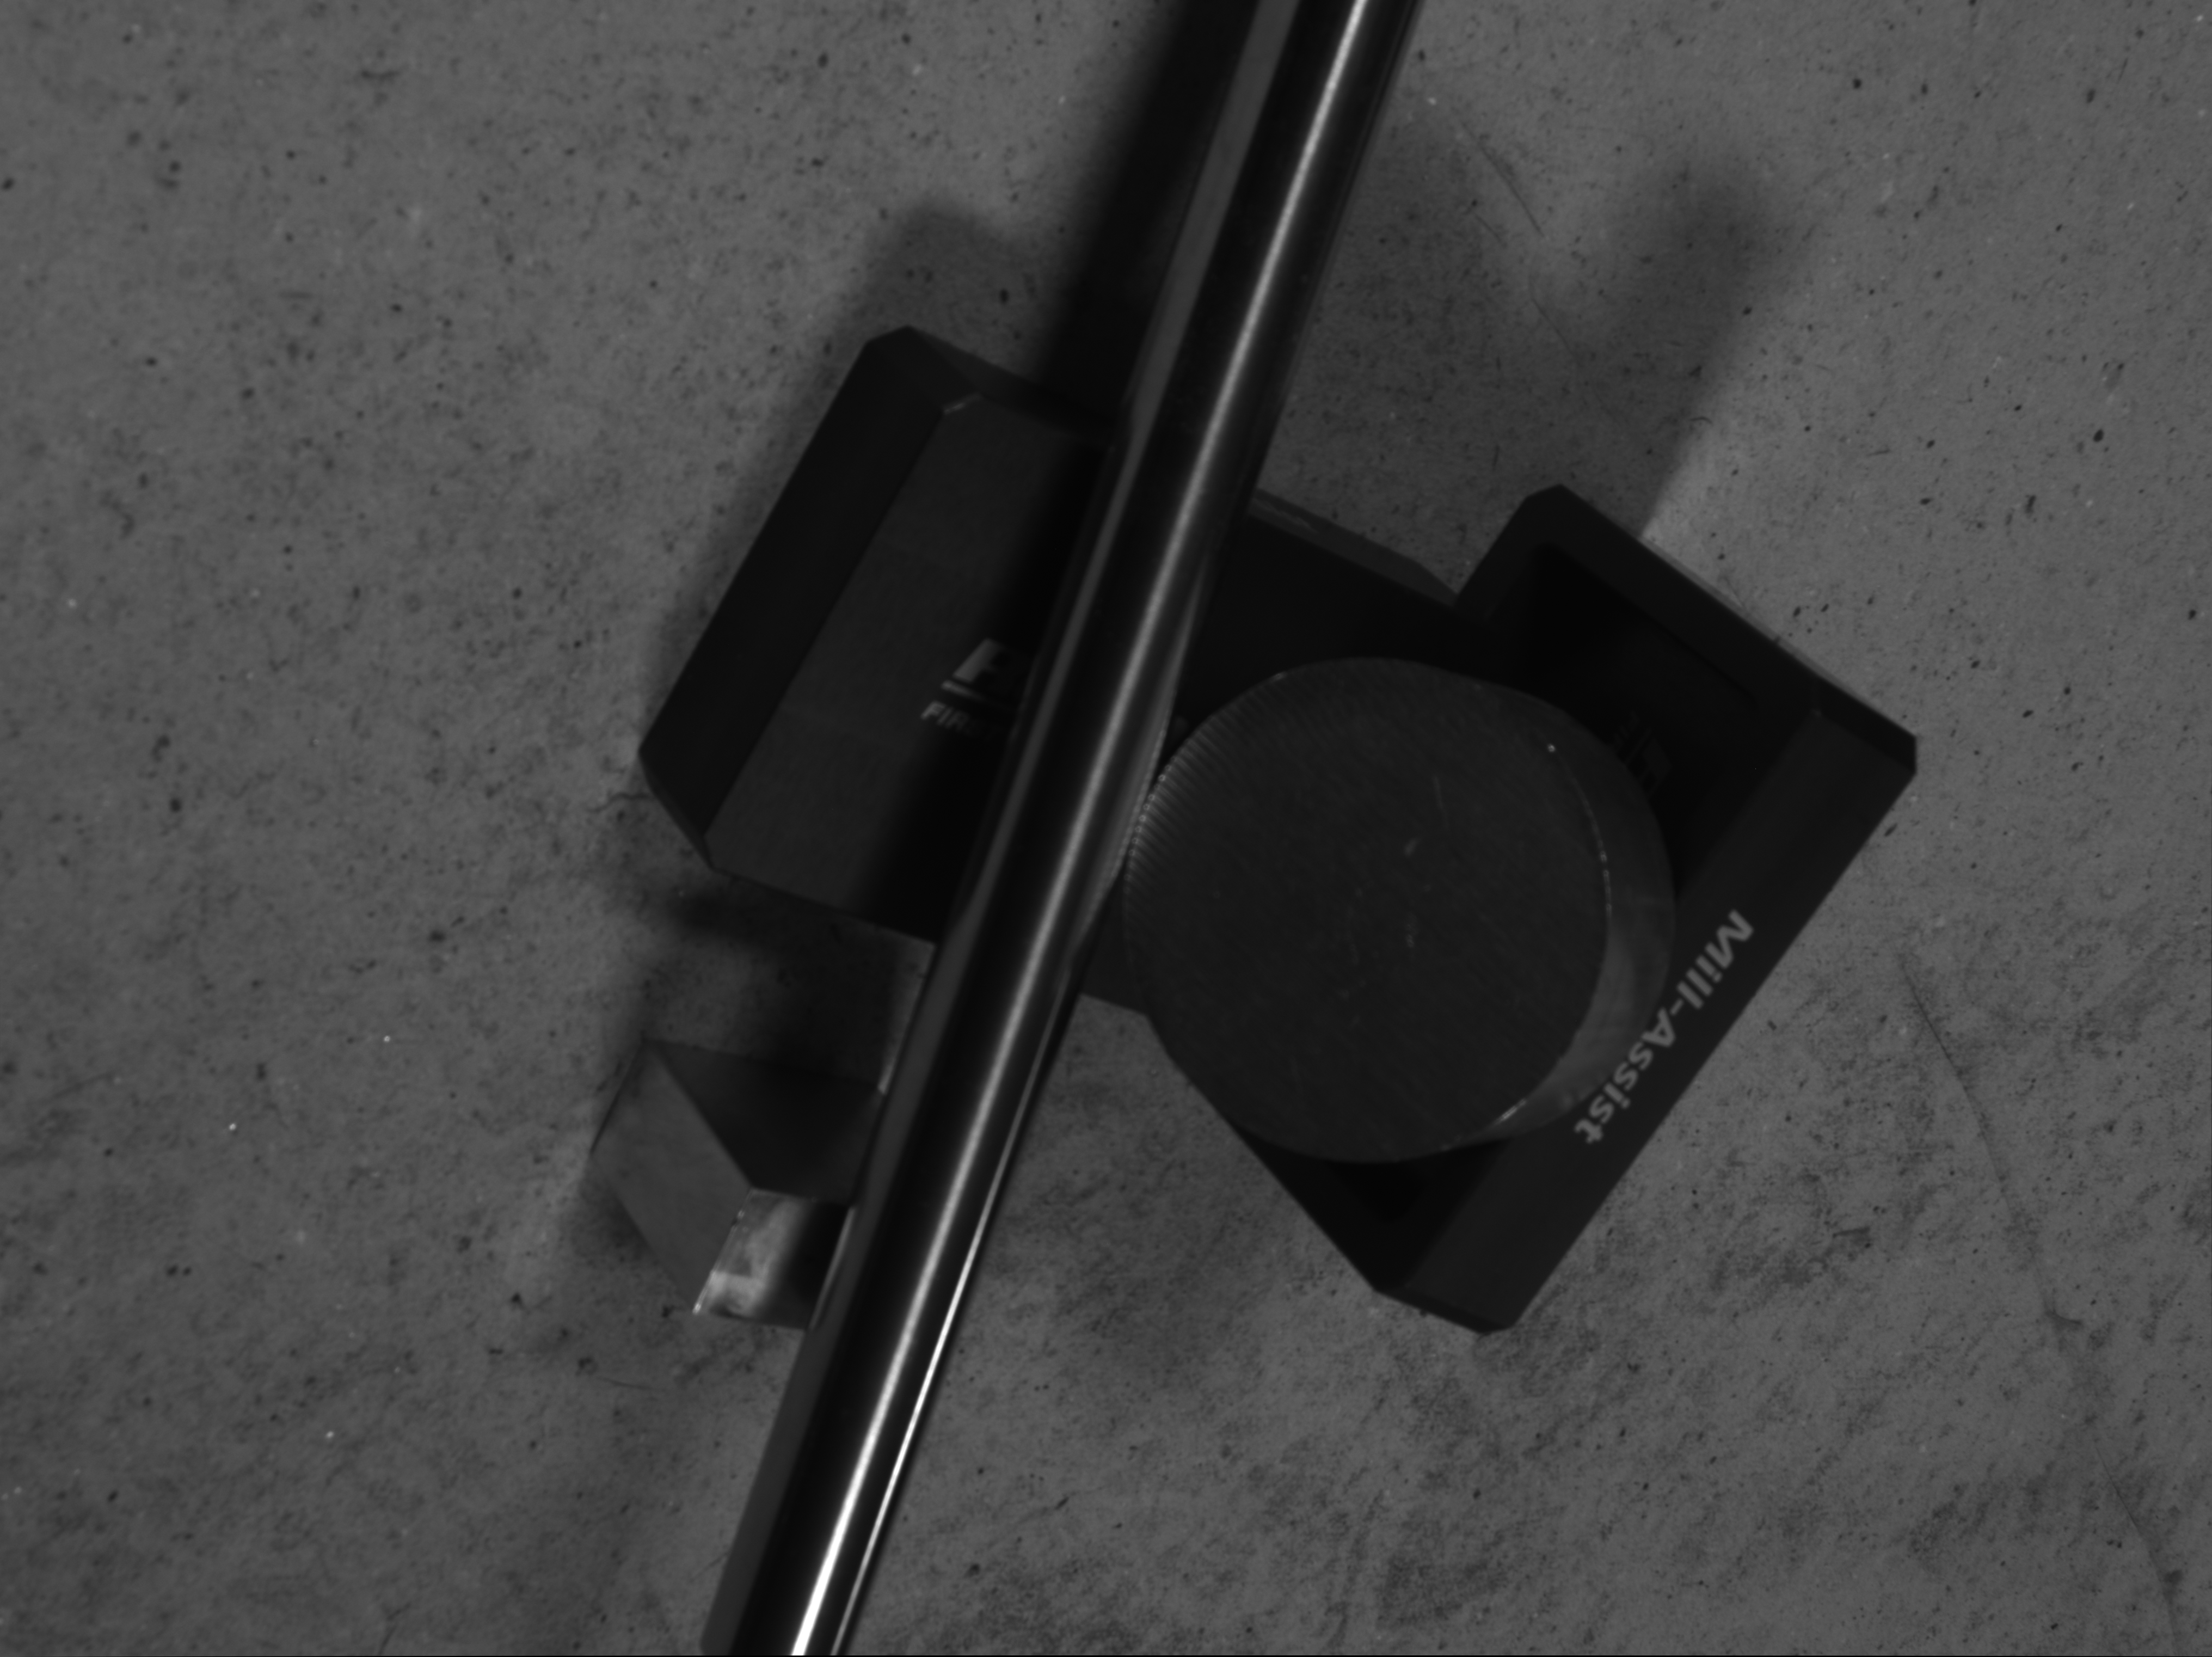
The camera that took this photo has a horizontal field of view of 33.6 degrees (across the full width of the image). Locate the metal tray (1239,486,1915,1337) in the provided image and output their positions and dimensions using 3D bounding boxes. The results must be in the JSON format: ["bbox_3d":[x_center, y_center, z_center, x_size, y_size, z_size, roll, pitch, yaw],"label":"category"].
[{"bbox_3d":[0.075,0.014,0.661,0.030,0.090,0.130,26,103,-38],"label":"metal tray"}]

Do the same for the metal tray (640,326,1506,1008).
[{"bbox_3d":[-0.003,-0.021,0.632,0.130,0.030,0.090,20,107,-37],"label":"metal tray"}]

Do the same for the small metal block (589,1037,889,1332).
[{"bbox_3d":[-0.056,0.064,0.642,0.050,0.050,0.025,14,111,-36],"label":"small metal block"}]

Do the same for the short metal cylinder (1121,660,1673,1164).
[{"bbox_3d":[0.049,0.014,0.604,0.080,0.080,0.050,-55,162,10],"label":"short metal cylinder"}]

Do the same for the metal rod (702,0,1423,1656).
[{"bbox_3d":[-0.009,0.003,0.597,0.025,0.025,0.300,11,103,-35],"label":"metal rod"}]
